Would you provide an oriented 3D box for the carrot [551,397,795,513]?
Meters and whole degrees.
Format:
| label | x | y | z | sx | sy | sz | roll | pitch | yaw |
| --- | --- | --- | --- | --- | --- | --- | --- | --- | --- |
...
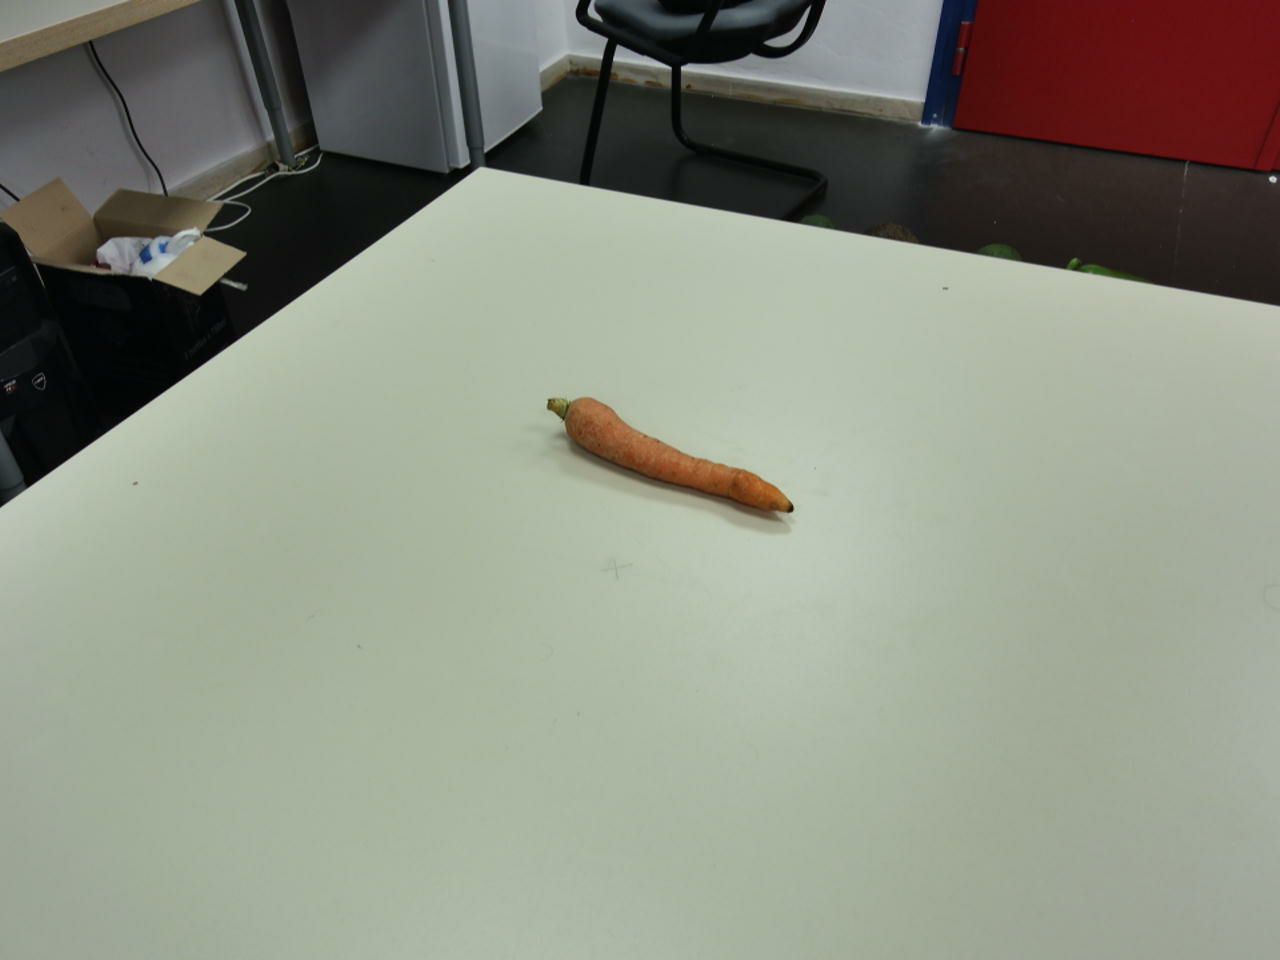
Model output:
| label | x | y | z | sx | sy | sz | roll | pitch | yaw |
| --- | --- | --- | --- | --- | --- | --- | --- | --- | --- |
| carrot | 0.016 | -0.015 | 0.616 | 0.173 | 0.032 | 0.030 | 22 | 44 | 26 |
